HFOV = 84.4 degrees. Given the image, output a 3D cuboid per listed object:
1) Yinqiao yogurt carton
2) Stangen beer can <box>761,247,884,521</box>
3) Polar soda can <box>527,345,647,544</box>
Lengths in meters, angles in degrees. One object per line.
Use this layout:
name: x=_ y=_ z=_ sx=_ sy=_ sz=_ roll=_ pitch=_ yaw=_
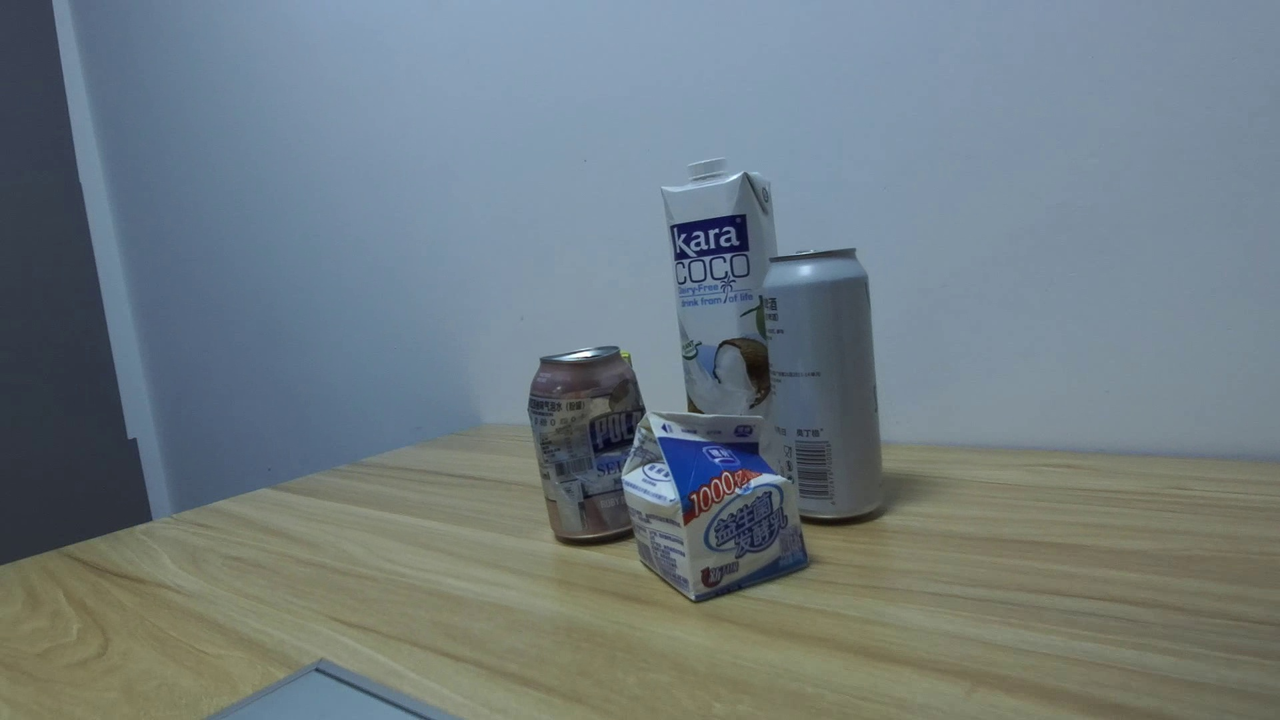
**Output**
Yinqiao yogurt carton: x=0.037 y=0.069 z=0.392 sx=0.083 sy=0.093 sz=0.077 roll=-9 pitch=8 yaw=-23
Stangen beer can: x=0.118 y=0.016 z=0.457 sx=0.067 sy=0.171 sz=0.067 roll=-5 pitch=5 yaw=1
Polar soda can: x=-0.030 y=0.056 z=0.473 sx=0.074 sy=0.121 sz=0.067 roll=-7 pitch=5 yaw=15
